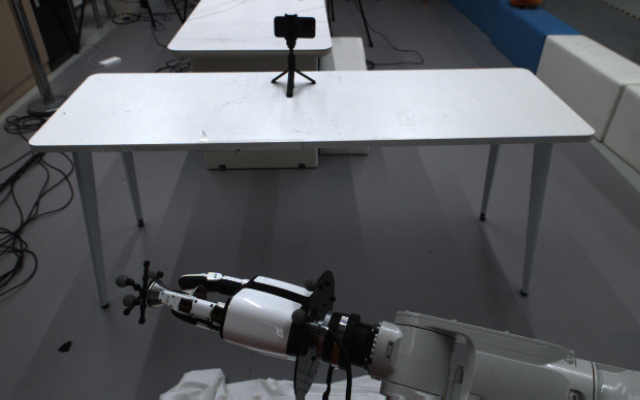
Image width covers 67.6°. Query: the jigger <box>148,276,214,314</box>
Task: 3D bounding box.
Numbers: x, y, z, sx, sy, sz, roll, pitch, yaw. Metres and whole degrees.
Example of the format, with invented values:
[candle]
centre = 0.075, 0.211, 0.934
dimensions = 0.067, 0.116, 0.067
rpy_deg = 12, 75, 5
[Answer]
[jigger]
centre = -0.187, 0.129, 0.662
dimensions = 0.071, 0.043, 0.043
rpy_deg = 5, 34, 15
